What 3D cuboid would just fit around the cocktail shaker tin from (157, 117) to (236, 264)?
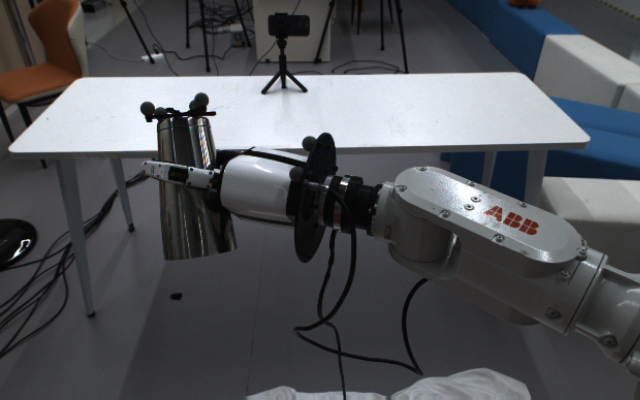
[{"bbox_3d":[-0.163,-0.015,0.616,0.093,0.170,0.093,-8,1,0],"label":"cocktail shaker tin"}]
